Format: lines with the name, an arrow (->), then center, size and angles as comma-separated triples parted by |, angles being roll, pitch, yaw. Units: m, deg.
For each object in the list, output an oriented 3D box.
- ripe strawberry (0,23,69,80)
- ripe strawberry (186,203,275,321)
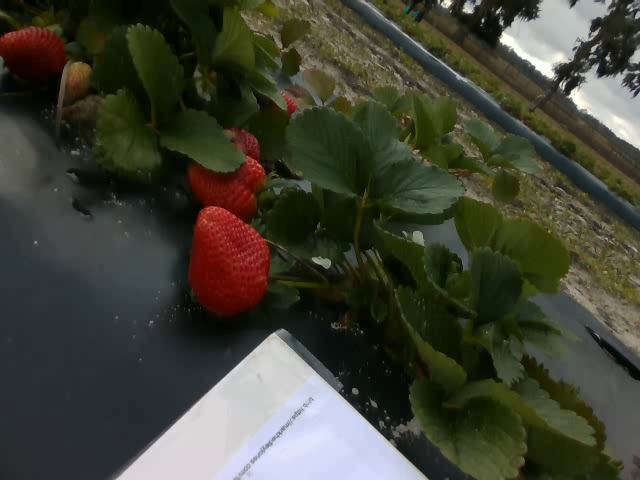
ripe strawberry -> -0.186, -0.124, 0.392 | 0.043, 0.041, 0.051 | 22, 13, 10
ripe strawberry -> -0.052, 0.006, 0.322 | 0.057, 0.056, 0.065 | -2, -30, 11
